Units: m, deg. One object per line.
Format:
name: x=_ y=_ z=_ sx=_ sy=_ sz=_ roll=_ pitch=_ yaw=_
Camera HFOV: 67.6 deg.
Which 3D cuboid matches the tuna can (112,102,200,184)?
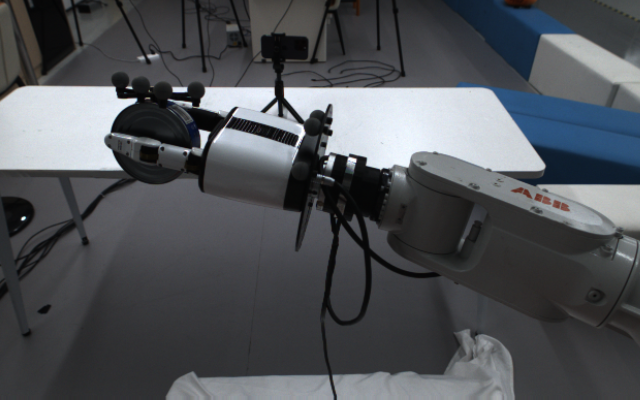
tuna can: x=-0.170 y=-0.062 z=0.509 sx=0.085 sy=0.085 sz=0.034 roll=5 pitch=17 yaw=5
